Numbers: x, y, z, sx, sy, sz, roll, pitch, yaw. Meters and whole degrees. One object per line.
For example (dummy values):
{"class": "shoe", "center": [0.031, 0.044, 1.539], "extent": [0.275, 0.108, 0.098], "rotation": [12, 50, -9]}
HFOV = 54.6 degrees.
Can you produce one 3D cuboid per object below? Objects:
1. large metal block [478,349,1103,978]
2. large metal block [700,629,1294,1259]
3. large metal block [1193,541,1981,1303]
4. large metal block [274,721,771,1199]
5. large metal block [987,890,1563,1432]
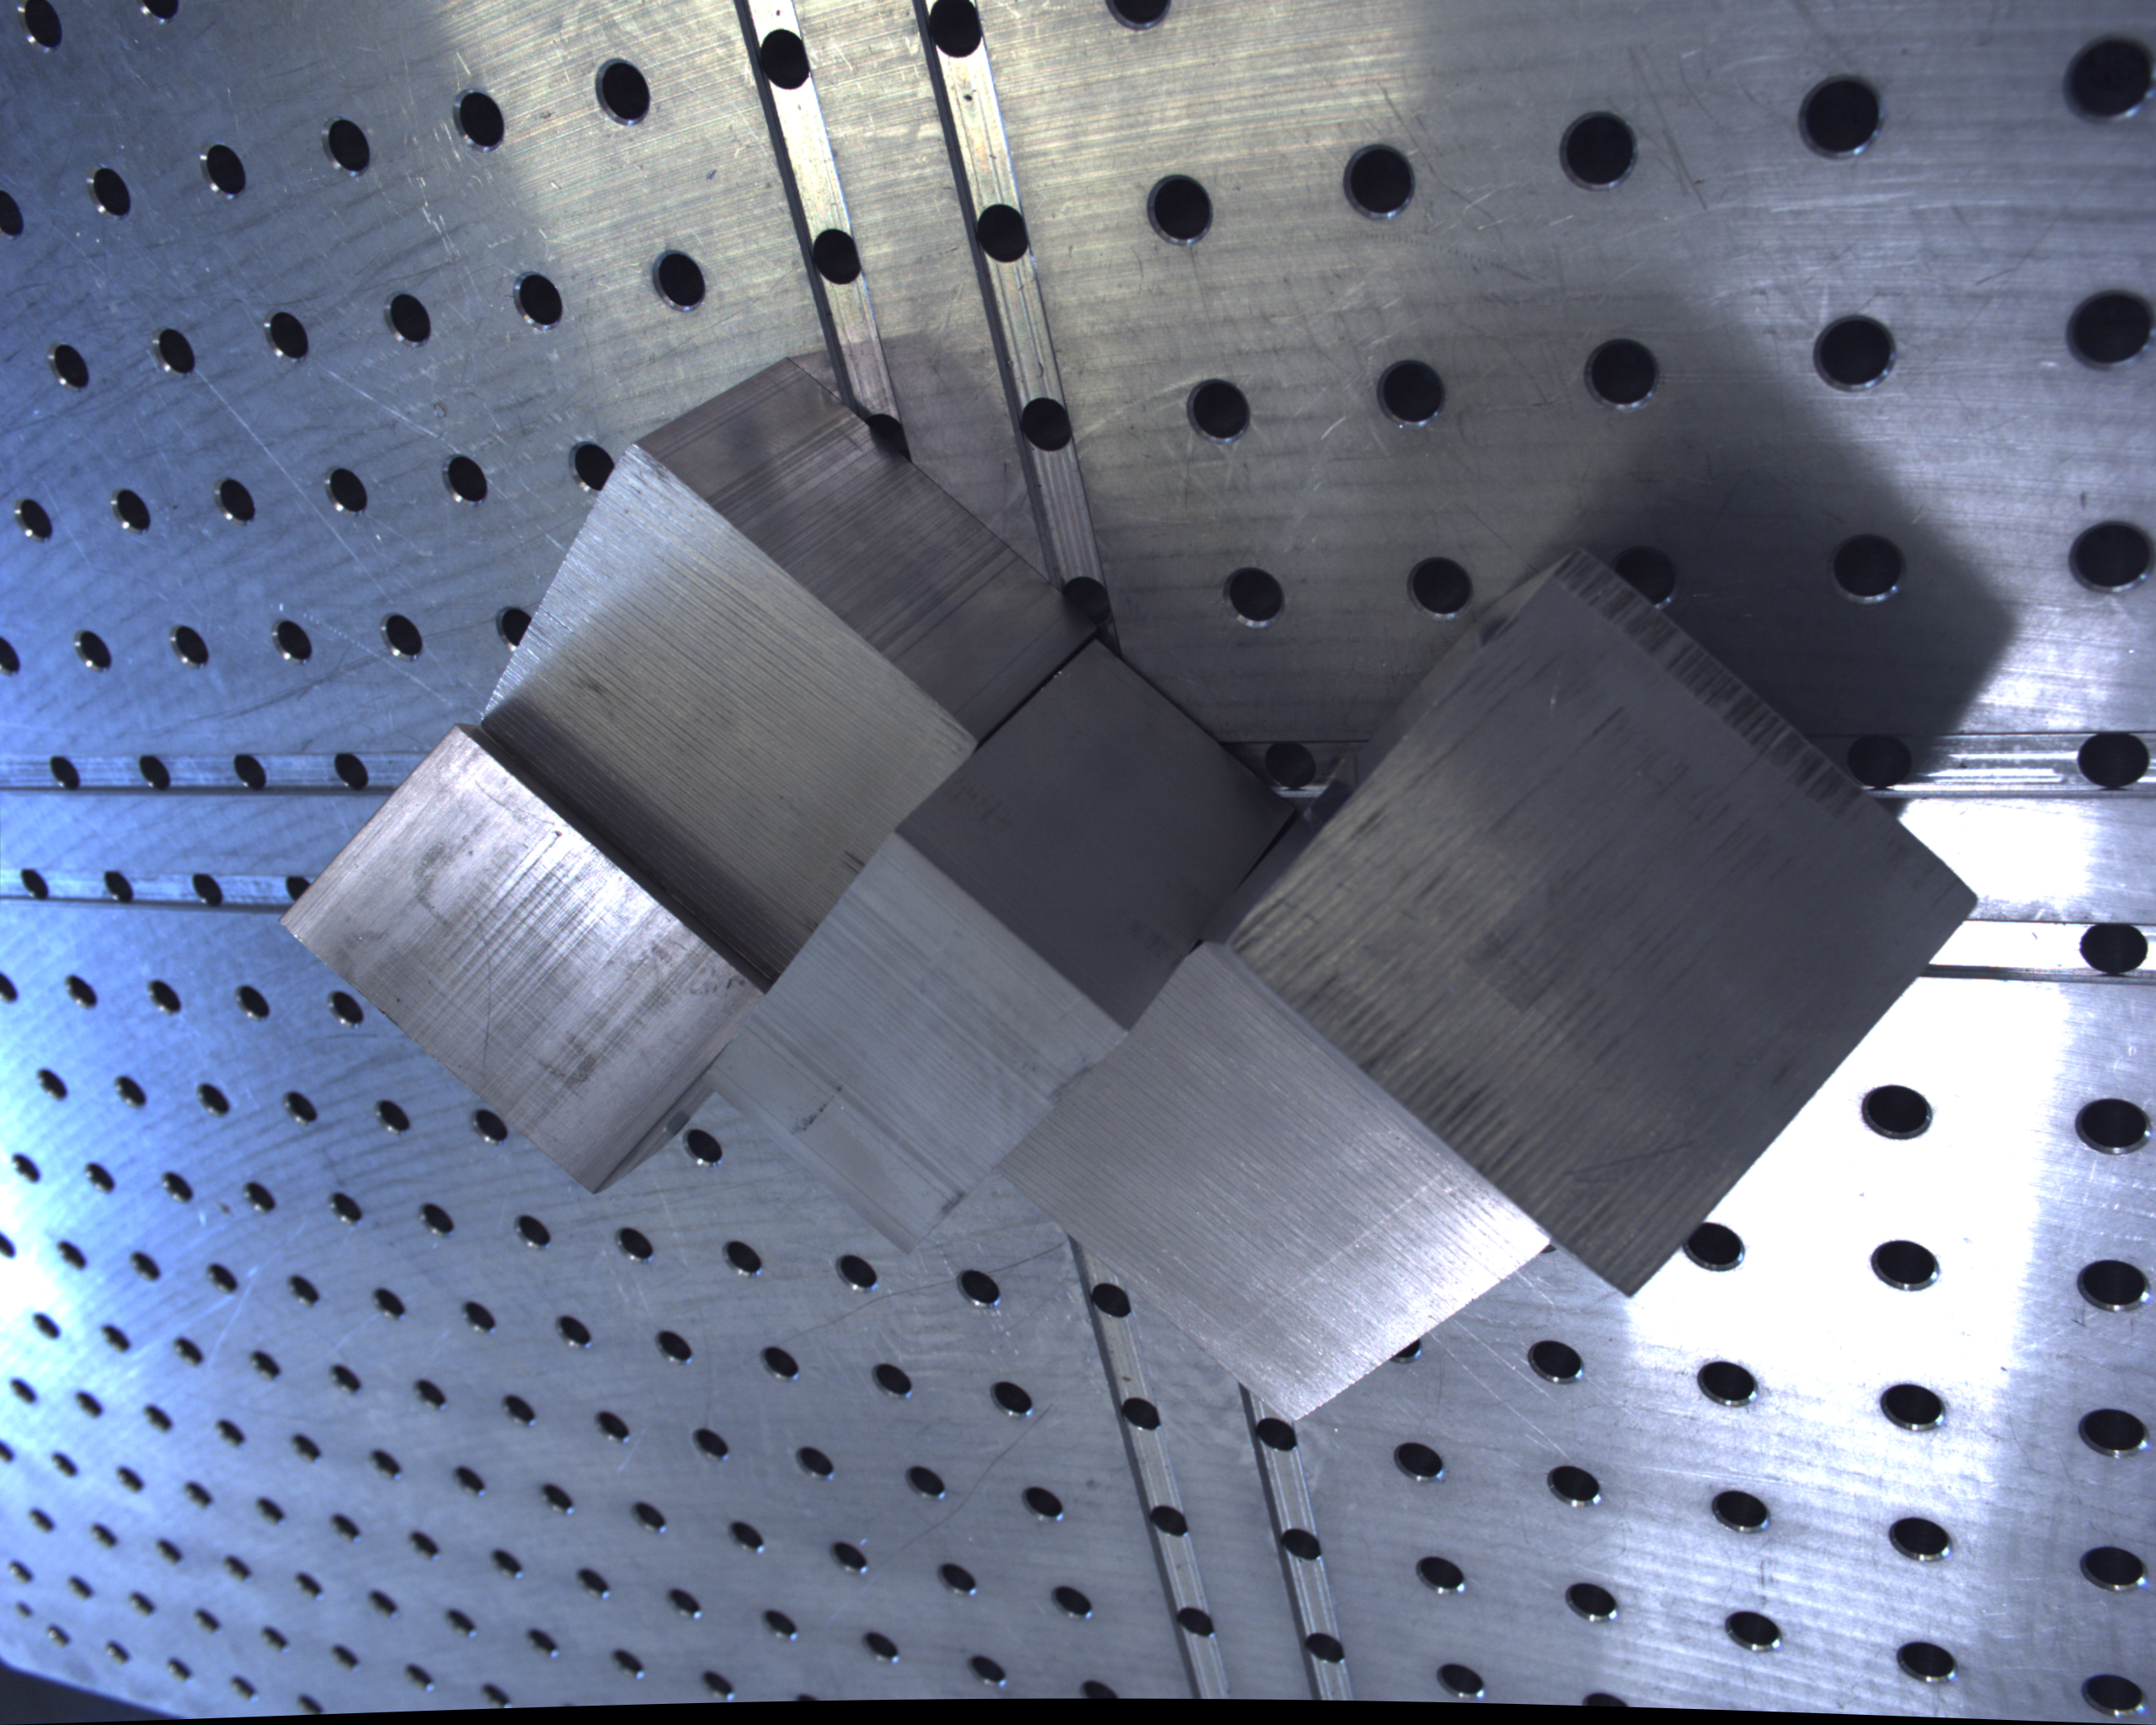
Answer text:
{"class": "large metal block", "center": [-0.056, -0.036, 0.403], "extent": [0.080, 0.050, 0.080], "rotation": [41, 131, -1]}
{"class": "large metal block", "center": [-0.014, 0.014, 0.392], "extent": [0.050, 0.080, 0.080], "rotation": [40, 129, -1]}
{"class": "large metal block", "center": [0.077, 0.009, 0.333], "extent": [0.080, 0.050, 0.080], "rotation": [41, 89, -1]}
{"class": "large metal block", "center": [-0.104, 0.018, 0.433], "extent": [0.080, 0.080, 0.050], "rotation": [41, 91, -1]}
{"class": "large metal block", "center": [0.042, 0.050, 0.404], "extent": [0.080, 0.050, 0.080], "rotation": [43, 129, 1]}
